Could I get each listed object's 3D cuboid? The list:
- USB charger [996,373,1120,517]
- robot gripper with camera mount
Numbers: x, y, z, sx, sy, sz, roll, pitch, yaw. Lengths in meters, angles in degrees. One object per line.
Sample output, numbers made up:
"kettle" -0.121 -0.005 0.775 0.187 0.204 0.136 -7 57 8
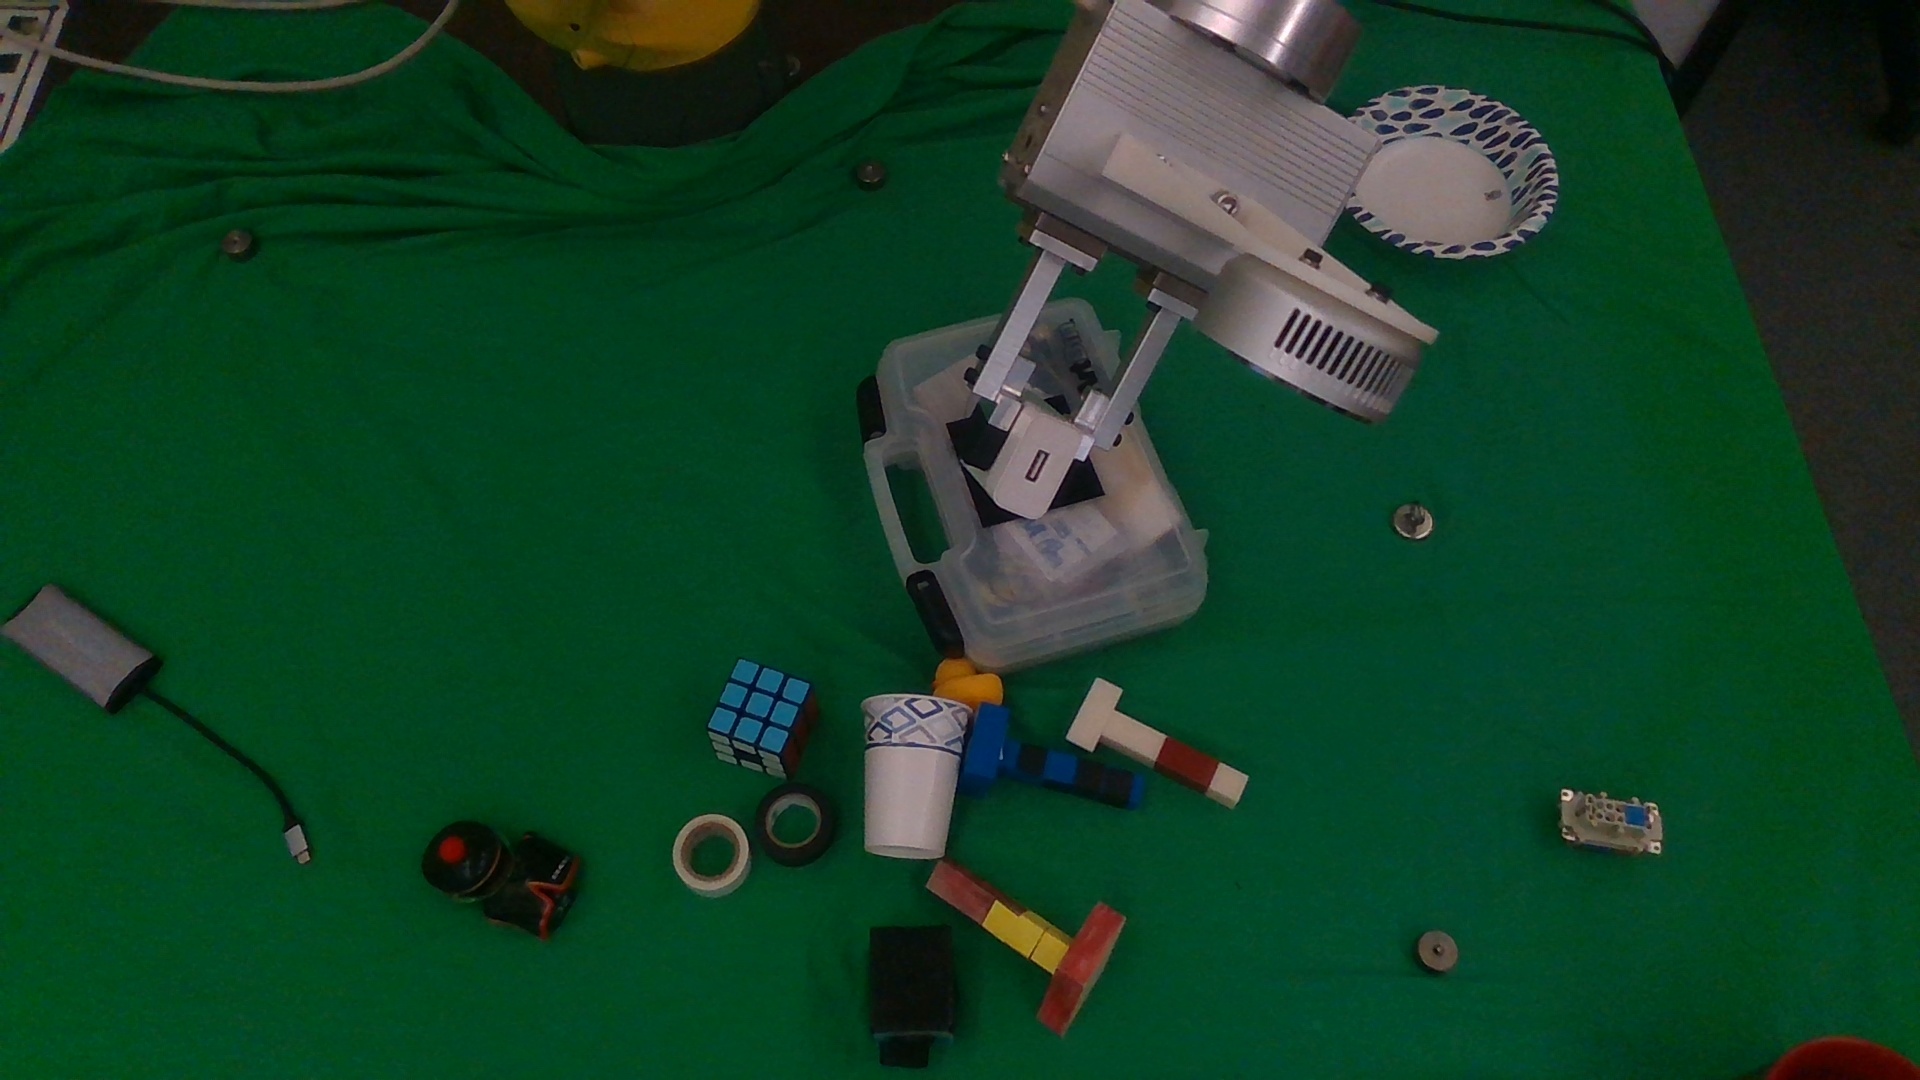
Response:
"USB charger" 0.035 -0.041 0.550 0.029 0.076 0.045 23 103 -19
"robot gripper with camera mount" 0.074 -0.060 0.448 0.119 0.159 0.193 23 22 -16
